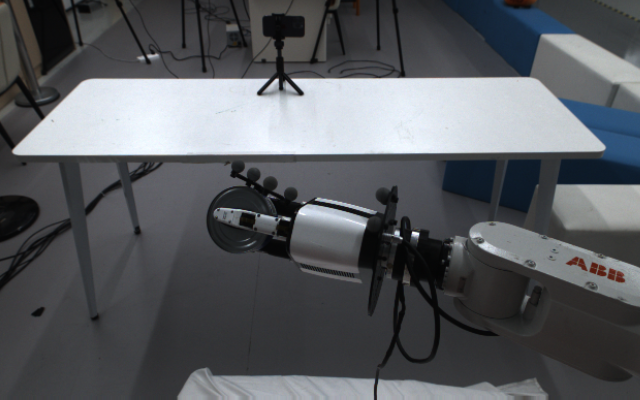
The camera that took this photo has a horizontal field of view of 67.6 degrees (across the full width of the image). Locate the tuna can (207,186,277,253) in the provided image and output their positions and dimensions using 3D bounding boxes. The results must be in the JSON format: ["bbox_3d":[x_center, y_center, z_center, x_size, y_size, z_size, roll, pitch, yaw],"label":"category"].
[{"bbox_3d":[-0.097,0.026,0.620,0.085,0.085,0.034,10,-4,11],"label":"tuna can"}]
